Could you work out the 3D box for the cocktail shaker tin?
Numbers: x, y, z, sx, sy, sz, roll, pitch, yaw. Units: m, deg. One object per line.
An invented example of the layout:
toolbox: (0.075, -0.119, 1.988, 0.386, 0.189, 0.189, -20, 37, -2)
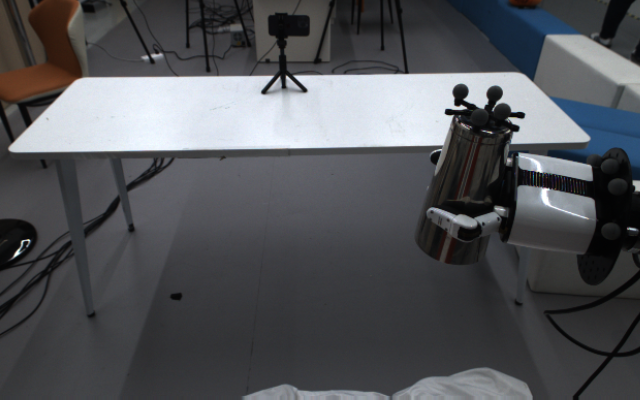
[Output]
cocktail shaker tin: (0.176, -0.018, 0.580, 0.093, 0.170, 0.093, 3, 34, -2)
